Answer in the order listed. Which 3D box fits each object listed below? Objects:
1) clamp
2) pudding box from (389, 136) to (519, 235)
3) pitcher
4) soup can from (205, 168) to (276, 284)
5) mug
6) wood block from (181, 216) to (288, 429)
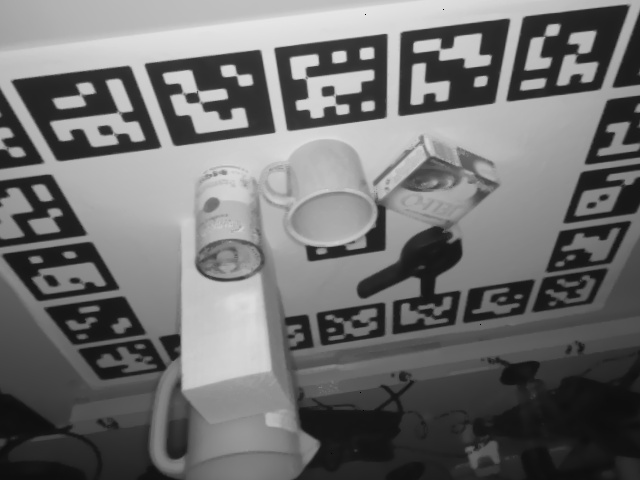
[{"bbox_3d":[0.135,0.041,0.891,0.123,0.037,0.162,17,134,-19],"label":"clamp"},{"bbox_3d":[0.147,-0.058,0.765,0.115,0.039,0.088,18,130,-31],"label":"pudding box"},{"bbox_3d":[-0.103,0.173,0.824,0.189,0.243,0.132,-10,143,-4],"label":"pitcher"},{"bbox_3d":[-0.083,-0.016,0.707,0.068,0.102,0.067,-6,138,-5],"label":"soup can"},{"bbox_3d":[0.006,-0.050,0.704,0.118,0.082,0.092,16,137,-30],"label":"mug"},{"bbox_3d":[-0.088,0.082,0.742,0.090,0.207,0.090,-7,141,2],"label":"wood block"}]
